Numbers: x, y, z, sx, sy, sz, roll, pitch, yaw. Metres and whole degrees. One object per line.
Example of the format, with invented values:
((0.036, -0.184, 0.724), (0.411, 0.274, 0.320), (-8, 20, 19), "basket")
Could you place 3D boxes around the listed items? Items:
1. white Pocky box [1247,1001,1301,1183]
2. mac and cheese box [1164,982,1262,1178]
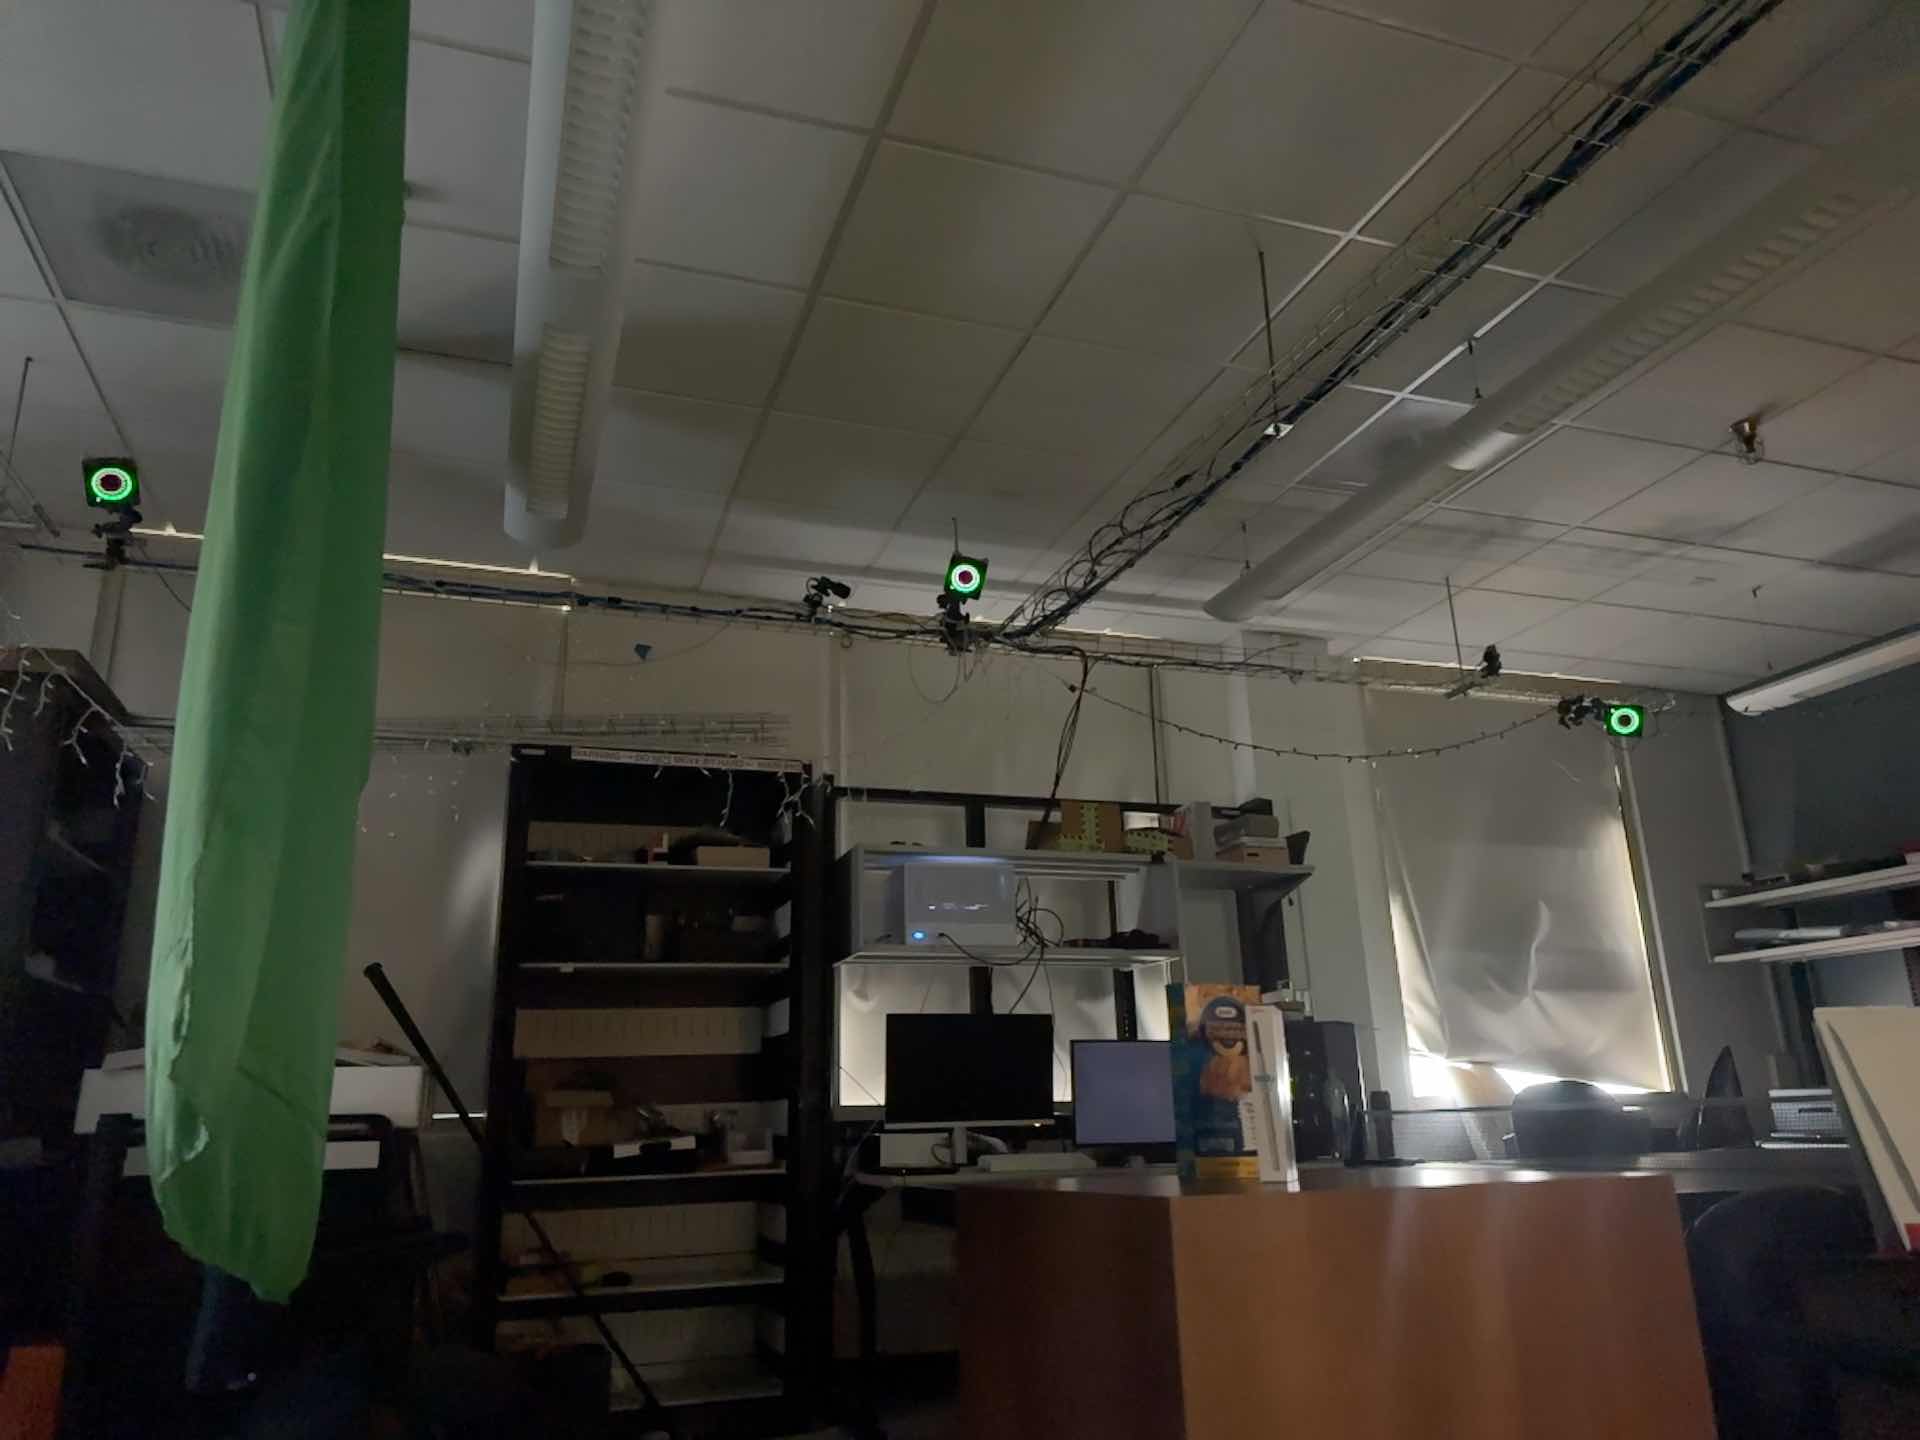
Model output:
((0.283, 0.334, 1.210), (0.028, 0.154, 0.084), (-7, -17, 19), "white Pocky box")
((0.256, 0.355, 1.333), (0.088, 0.181, 0.035), (6, -19, -25), "mac and cheese box")
